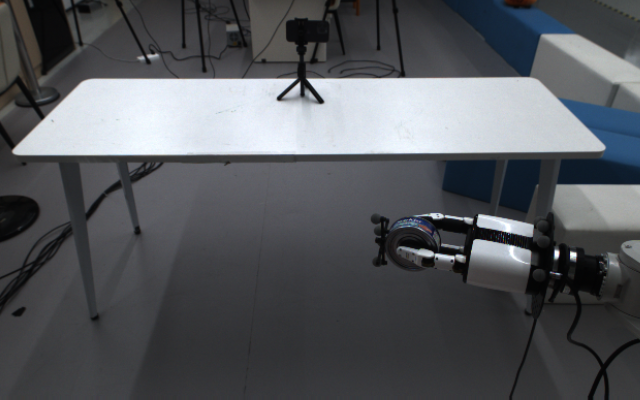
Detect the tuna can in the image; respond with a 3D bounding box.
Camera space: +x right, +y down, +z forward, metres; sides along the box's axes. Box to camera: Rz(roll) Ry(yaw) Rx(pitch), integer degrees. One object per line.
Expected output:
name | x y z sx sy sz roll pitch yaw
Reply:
tuna can | 0.149 0.067 0.772 0.085 0.085 0.034 12 28 14
